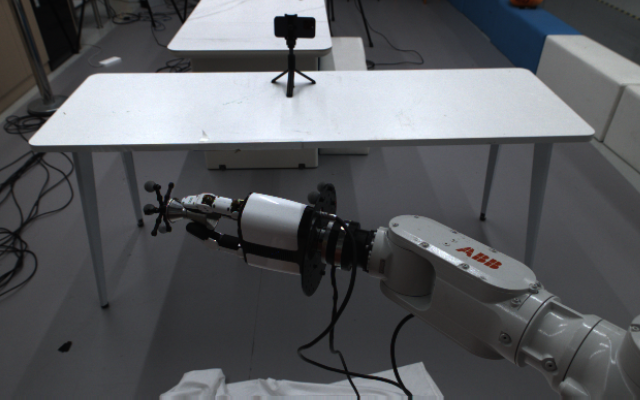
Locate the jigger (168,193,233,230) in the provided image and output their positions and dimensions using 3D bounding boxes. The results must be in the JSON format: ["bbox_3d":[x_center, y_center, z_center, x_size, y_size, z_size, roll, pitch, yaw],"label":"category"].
[{"bbox_3d":[-0.185,0.016,0.732,0.071,0.043,0.043,6,35,13],"label":"jigger"}]
